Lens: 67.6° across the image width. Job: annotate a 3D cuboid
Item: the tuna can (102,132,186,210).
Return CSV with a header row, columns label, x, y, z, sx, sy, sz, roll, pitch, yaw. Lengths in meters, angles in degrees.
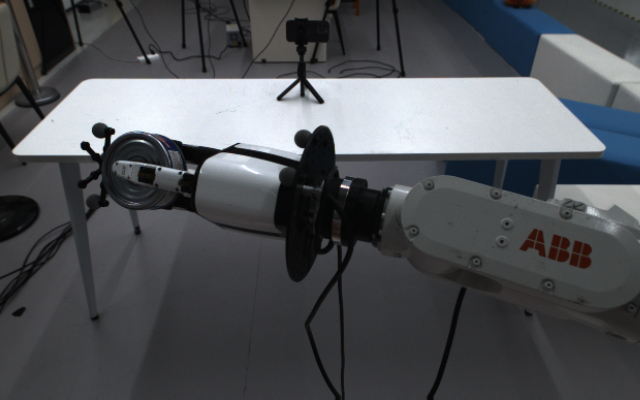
label,x,y,z,sx,sy,sz,roll,pitch,yaw
tuna can,-0.190,-0.032,0.529,0.085,0.085,0.034,10,3,11
